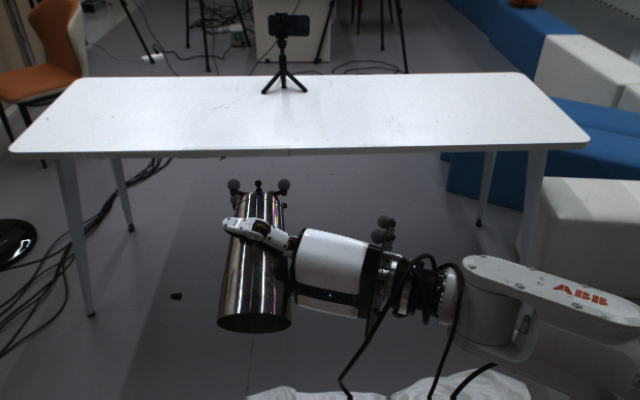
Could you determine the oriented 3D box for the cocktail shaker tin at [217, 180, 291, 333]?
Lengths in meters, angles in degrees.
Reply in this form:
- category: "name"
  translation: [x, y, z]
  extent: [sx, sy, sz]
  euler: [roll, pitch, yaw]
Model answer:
- category: "cocktail shaker tin"
  translation: [-0.083, 0.078, 0.631]
  extent: [0.093, 0.093, 0.170]
  euler: [0, 59, -3]
